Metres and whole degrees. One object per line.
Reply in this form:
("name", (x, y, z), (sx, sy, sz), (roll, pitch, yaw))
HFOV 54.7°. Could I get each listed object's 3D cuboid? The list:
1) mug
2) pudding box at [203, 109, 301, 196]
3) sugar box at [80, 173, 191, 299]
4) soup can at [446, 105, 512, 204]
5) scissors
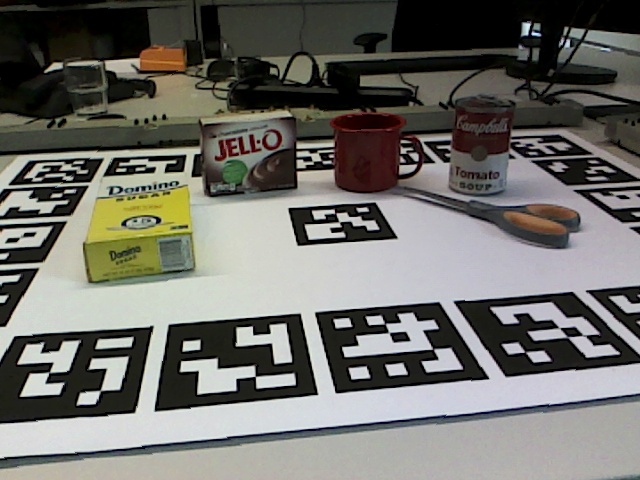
("mug", (0.067, -0.110, 0.759), (0.093, 0.081, 0.118), (-27, 37, -36))
("pudding box", (-0.080, -0.106, 0.739), (0.113, 0.090, 0.039), (-8, 36, -15))
("sugar box", (-0.181, -0.012, 0.628), (0.093, 0.045, 0.177), (-7, 31, -8))
("soup can", (0.187, -0.102, 0.736), (0.068, 0.102, 0.068), (-1, 27, 0))
("scissors", (0.178, -0.025, 0.666), (0.204, 0.016, 0.087), (23, 46, 34))
